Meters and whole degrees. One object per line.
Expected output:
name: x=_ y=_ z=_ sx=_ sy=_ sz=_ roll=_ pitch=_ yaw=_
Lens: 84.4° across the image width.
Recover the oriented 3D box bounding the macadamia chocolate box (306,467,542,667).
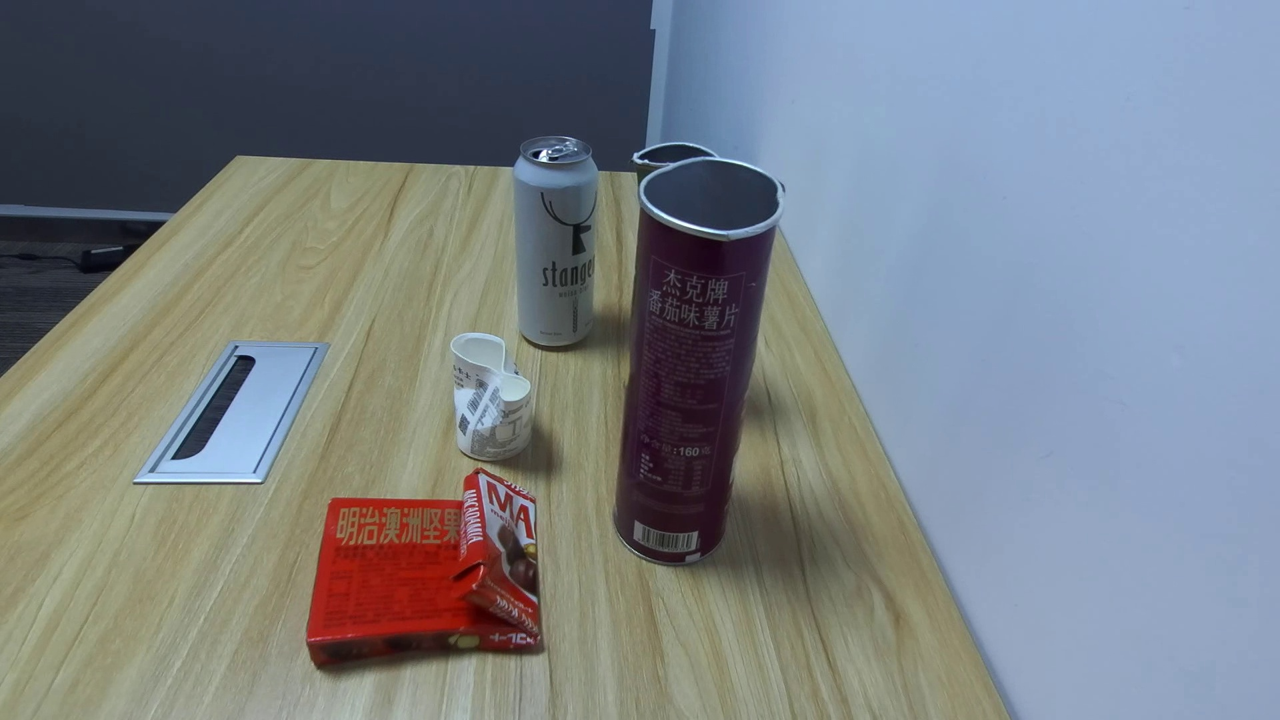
macadamia chocolate box: x=-0.123 y=0.116 z=0.418 sx=0.127 sy=0.056 sz=0.112 roll=-5 pitch=23 yaw=-10

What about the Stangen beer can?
Stangen beer can: x=-0.069 y=-0.092 z=0.591 sx=0.067 sy=0.171 sz=0.067 roll=5 pitch=33 yaw=-3

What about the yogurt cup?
yogurt cup: x=-0.106 y=0.029 z=0.502 sx=0.075 sy=0.071 sz=0.054 roll=18 pitch=41 yaw=17

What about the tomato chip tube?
tomato chip tube: x=0.028 y=0.014 z=0.399 sx=0.080 sy=0.234 sz=0.076 roll=-23 pitch=45 yaw=-32
